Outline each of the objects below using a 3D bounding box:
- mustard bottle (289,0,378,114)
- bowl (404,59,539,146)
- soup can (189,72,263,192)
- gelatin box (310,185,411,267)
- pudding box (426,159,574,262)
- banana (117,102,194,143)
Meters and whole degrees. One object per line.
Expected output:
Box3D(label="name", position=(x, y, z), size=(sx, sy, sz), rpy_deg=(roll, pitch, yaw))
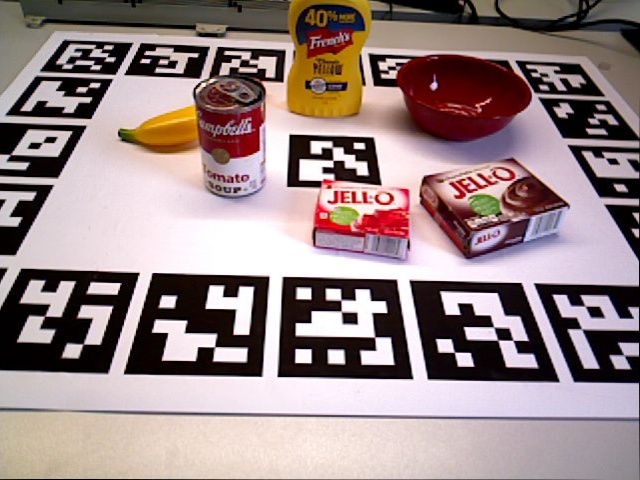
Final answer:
Box3D(label="mustard bottle", position=(0.015, -0.242, 0.612), size=(0.096, 0.196, 0.057), rpy_deg=(3, 40, -2))
Box3D(label="bowl", position=(0.179, -0.162, 0.662), size=(0.161, 0.056, 0.159), rpy_deg=(1, 42, -1))
Box3D(label="soup can", position=(-0.091, -0.108, 0.532), size=(0.067, 0.104, 0.067), rpy_deg=(4, 41, -4))
Box3D(label="gelatin box", position=(0.039, -0.015, 0.508), size=(0.089, 0.031, 0.072), rpy_deg=(6, 46, 4))
Box3D(label="pudding box", position=(0.174, -0.032, 0.529), size=(0.112, 0.039, 0.089), rpy_deg=(-15, 52, -19))
Box3D(label="banana", position=(-0.136, -0.154, 0.639), size=(0.074, 0.039, 0.193), rpy_deg=(25, 46, 35))
